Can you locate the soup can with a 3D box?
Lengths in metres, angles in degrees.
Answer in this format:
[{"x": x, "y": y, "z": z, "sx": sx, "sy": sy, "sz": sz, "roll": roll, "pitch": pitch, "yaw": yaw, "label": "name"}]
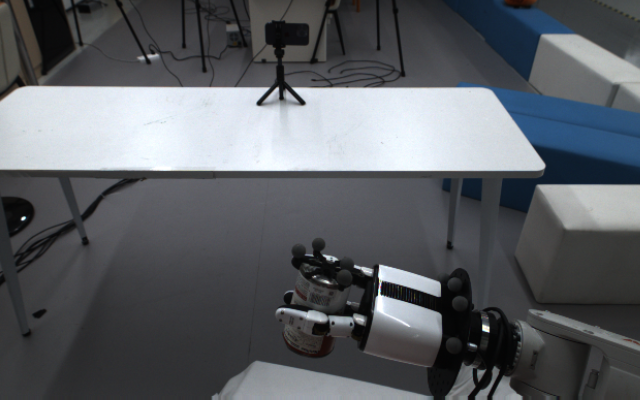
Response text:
[{"x": -0.001, "y": 0.133, "z": 0.597, "sx": 0.067, "sy": 0.101, "sz": 0.067, "roll": 13, "pitch": 18, "yaw": -4, "label": "soup can"}]
